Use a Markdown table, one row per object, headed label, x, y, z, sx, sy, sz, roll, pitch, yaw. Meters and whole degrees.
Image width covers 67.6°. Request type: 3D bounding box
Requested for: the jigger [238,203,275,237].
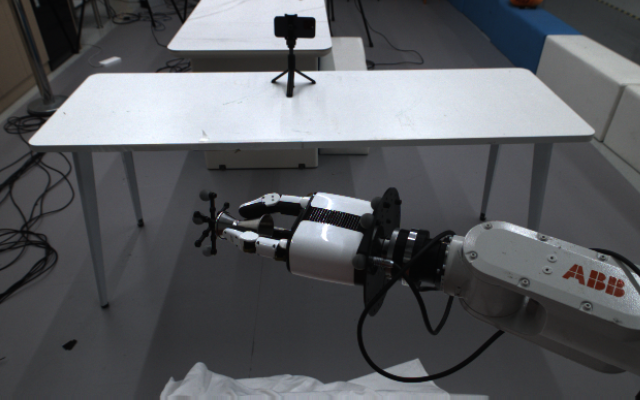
| label | x | y | z | sx | sy | sz | roll | pitch | yaw |
| --- | --- | --- | --- | --- | --- | --- | --- | --- | --- |
| jigger | -0.096 | 0.035 | 0.659 | 0.071 | 0.043 | 0.043 | 5 | 34 | 22 |
